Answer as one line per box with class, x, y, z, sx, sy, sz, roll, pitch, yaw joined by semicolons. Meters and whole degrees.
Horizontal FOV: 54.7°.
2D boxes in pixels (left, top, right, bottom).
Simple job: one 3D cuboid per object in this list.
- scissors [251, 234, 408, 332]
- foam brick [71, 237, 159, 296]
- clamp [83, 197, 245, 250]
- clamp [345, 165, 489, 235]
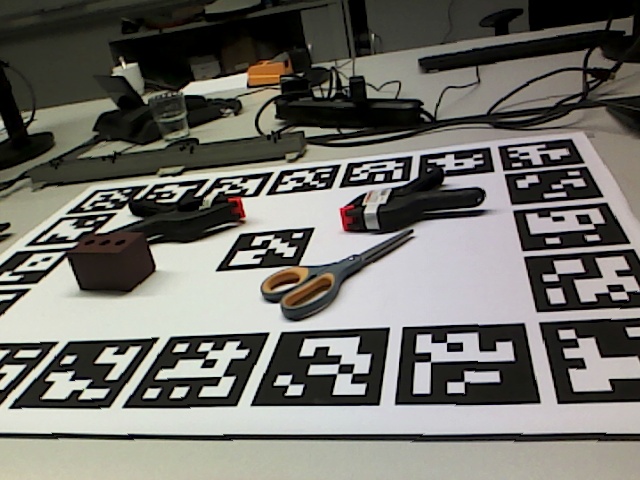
scissors;0.020;0.033;0.665;0.202;0.016;0.088;-27;38;-30
foam brick;-0.249;0.033;0.752;0.078;0.051;0.052;-4;28;25
clamp;-0.204;-0.029;0.866;0.203;0.036;0.165;-5;24;12
clamp;0.109;-0.043;0.771;0.165;0.036;0.122;-17;34;-9
